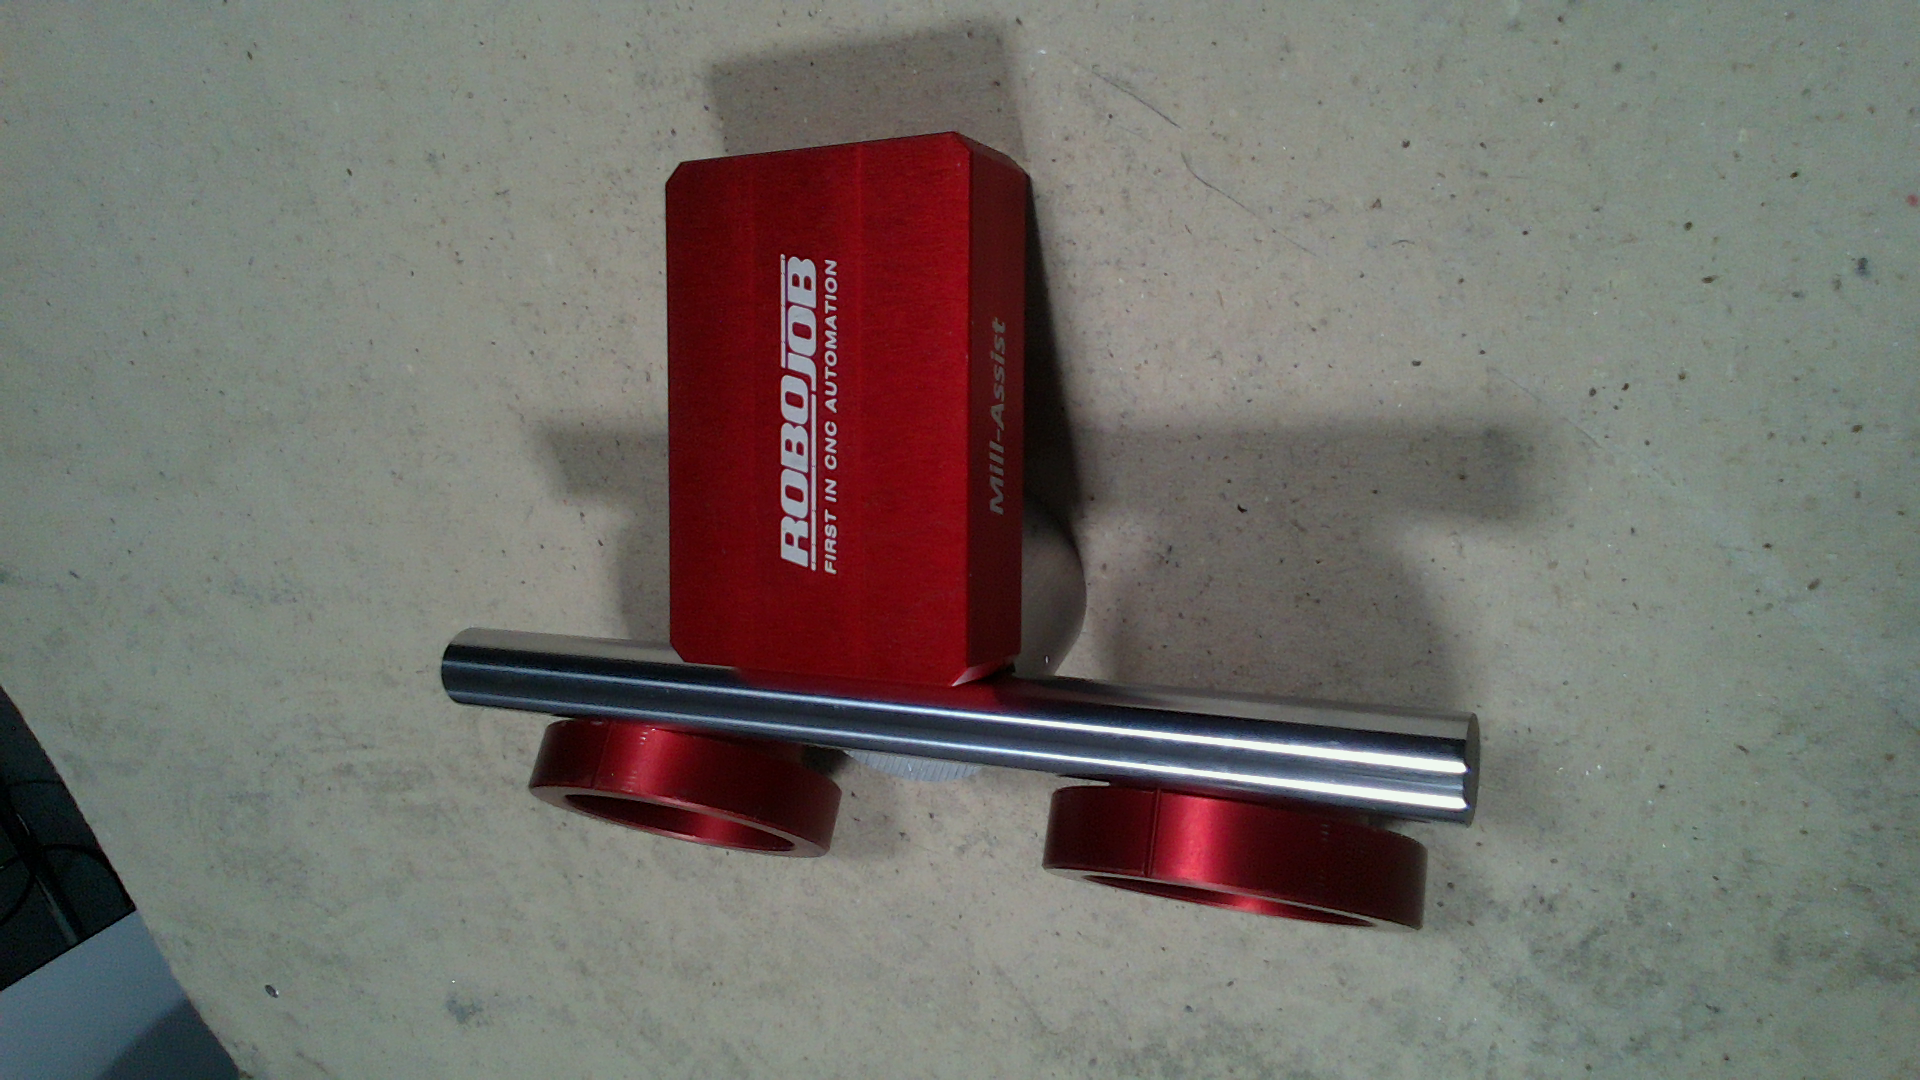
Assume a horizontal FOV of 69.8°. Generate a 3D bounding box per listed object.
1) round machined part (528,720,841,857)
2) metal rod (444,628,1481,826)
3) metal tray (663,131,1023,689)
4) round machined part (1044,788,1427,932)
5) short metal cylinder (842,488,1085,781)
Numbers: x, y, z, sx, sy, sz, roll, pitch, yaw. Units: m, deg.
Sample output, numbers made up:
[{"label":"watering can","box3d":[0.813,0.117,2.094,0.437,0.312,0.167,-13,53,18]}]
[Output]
[{"label":"round machined part","box3d":[-0.087,0.073,0.453,0.098,0.042,0.098,10,159,4]},{"label":"metal rod","box3d":[-0.021,0.045,0.368,0.299,0.025,0.025,2,120,27]},{"label":"metal tray","box3d":[-0.031,-0.032,0.352,0.090,0.030,0.130,2,93,27]},{"label":"round machined part","box3d":[0.073,0.076,0.367,0.098,0.042,0.098,9,164,3]},{"label":"short metal cylinder","box3d":[-0.010,0.022,0.397,0.080,0.050,0.080,13,124,21]}]
